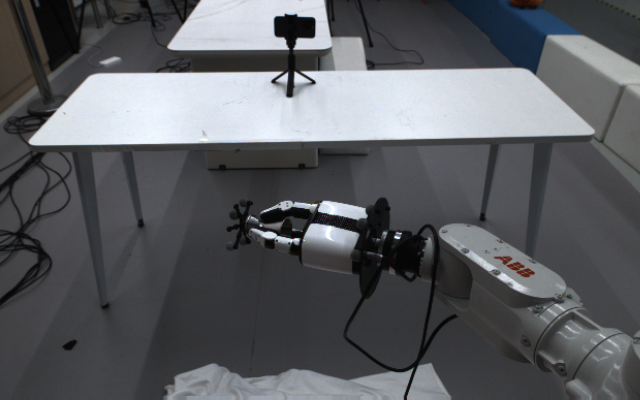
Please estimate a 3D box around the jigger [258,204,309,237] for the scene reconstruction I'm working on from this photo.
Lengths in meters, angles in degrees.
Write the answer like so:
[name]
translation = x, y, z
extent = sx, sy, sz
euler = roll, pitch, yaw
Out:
[jigger]
translation = -0.081, 0.044, 0.811
extent = 0.071, 0.043, 0.043
euler = 7, 34, 23
